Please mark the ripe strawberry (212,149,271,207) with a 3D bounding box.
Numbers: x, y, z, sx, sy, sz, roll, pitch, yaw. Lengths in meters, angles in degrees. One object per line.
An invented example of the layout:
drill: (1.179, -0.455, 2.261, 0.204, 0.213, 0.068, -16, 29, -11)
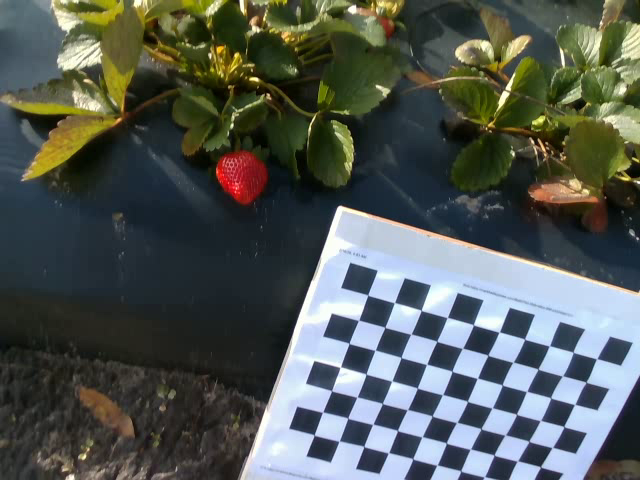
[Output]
ripe strawberry: (-0.045, -0.043, 0.460, 0.041, 0.047, 0.041, -9, -43, 7)
